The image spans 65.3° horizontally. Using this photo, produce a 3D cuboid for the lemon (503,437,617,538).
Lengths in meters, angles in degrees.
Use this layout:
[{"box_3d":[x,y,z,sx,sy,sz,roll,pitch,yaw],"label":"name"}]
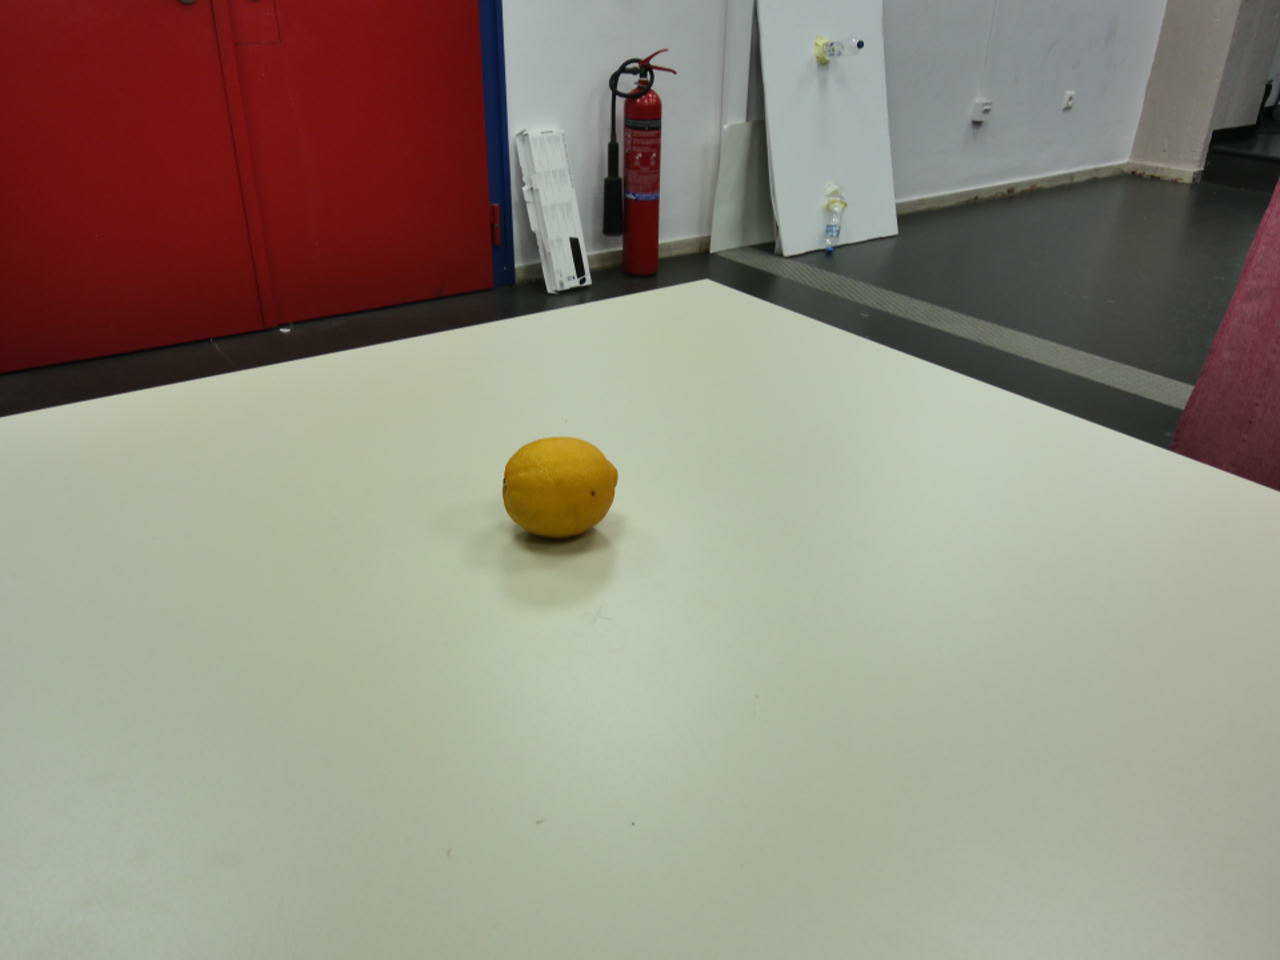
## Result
[{"box_3d":[-0.048,0.005,0.590,0.067,0.059,0.060,3,26,5],"label":"lemon"}]
